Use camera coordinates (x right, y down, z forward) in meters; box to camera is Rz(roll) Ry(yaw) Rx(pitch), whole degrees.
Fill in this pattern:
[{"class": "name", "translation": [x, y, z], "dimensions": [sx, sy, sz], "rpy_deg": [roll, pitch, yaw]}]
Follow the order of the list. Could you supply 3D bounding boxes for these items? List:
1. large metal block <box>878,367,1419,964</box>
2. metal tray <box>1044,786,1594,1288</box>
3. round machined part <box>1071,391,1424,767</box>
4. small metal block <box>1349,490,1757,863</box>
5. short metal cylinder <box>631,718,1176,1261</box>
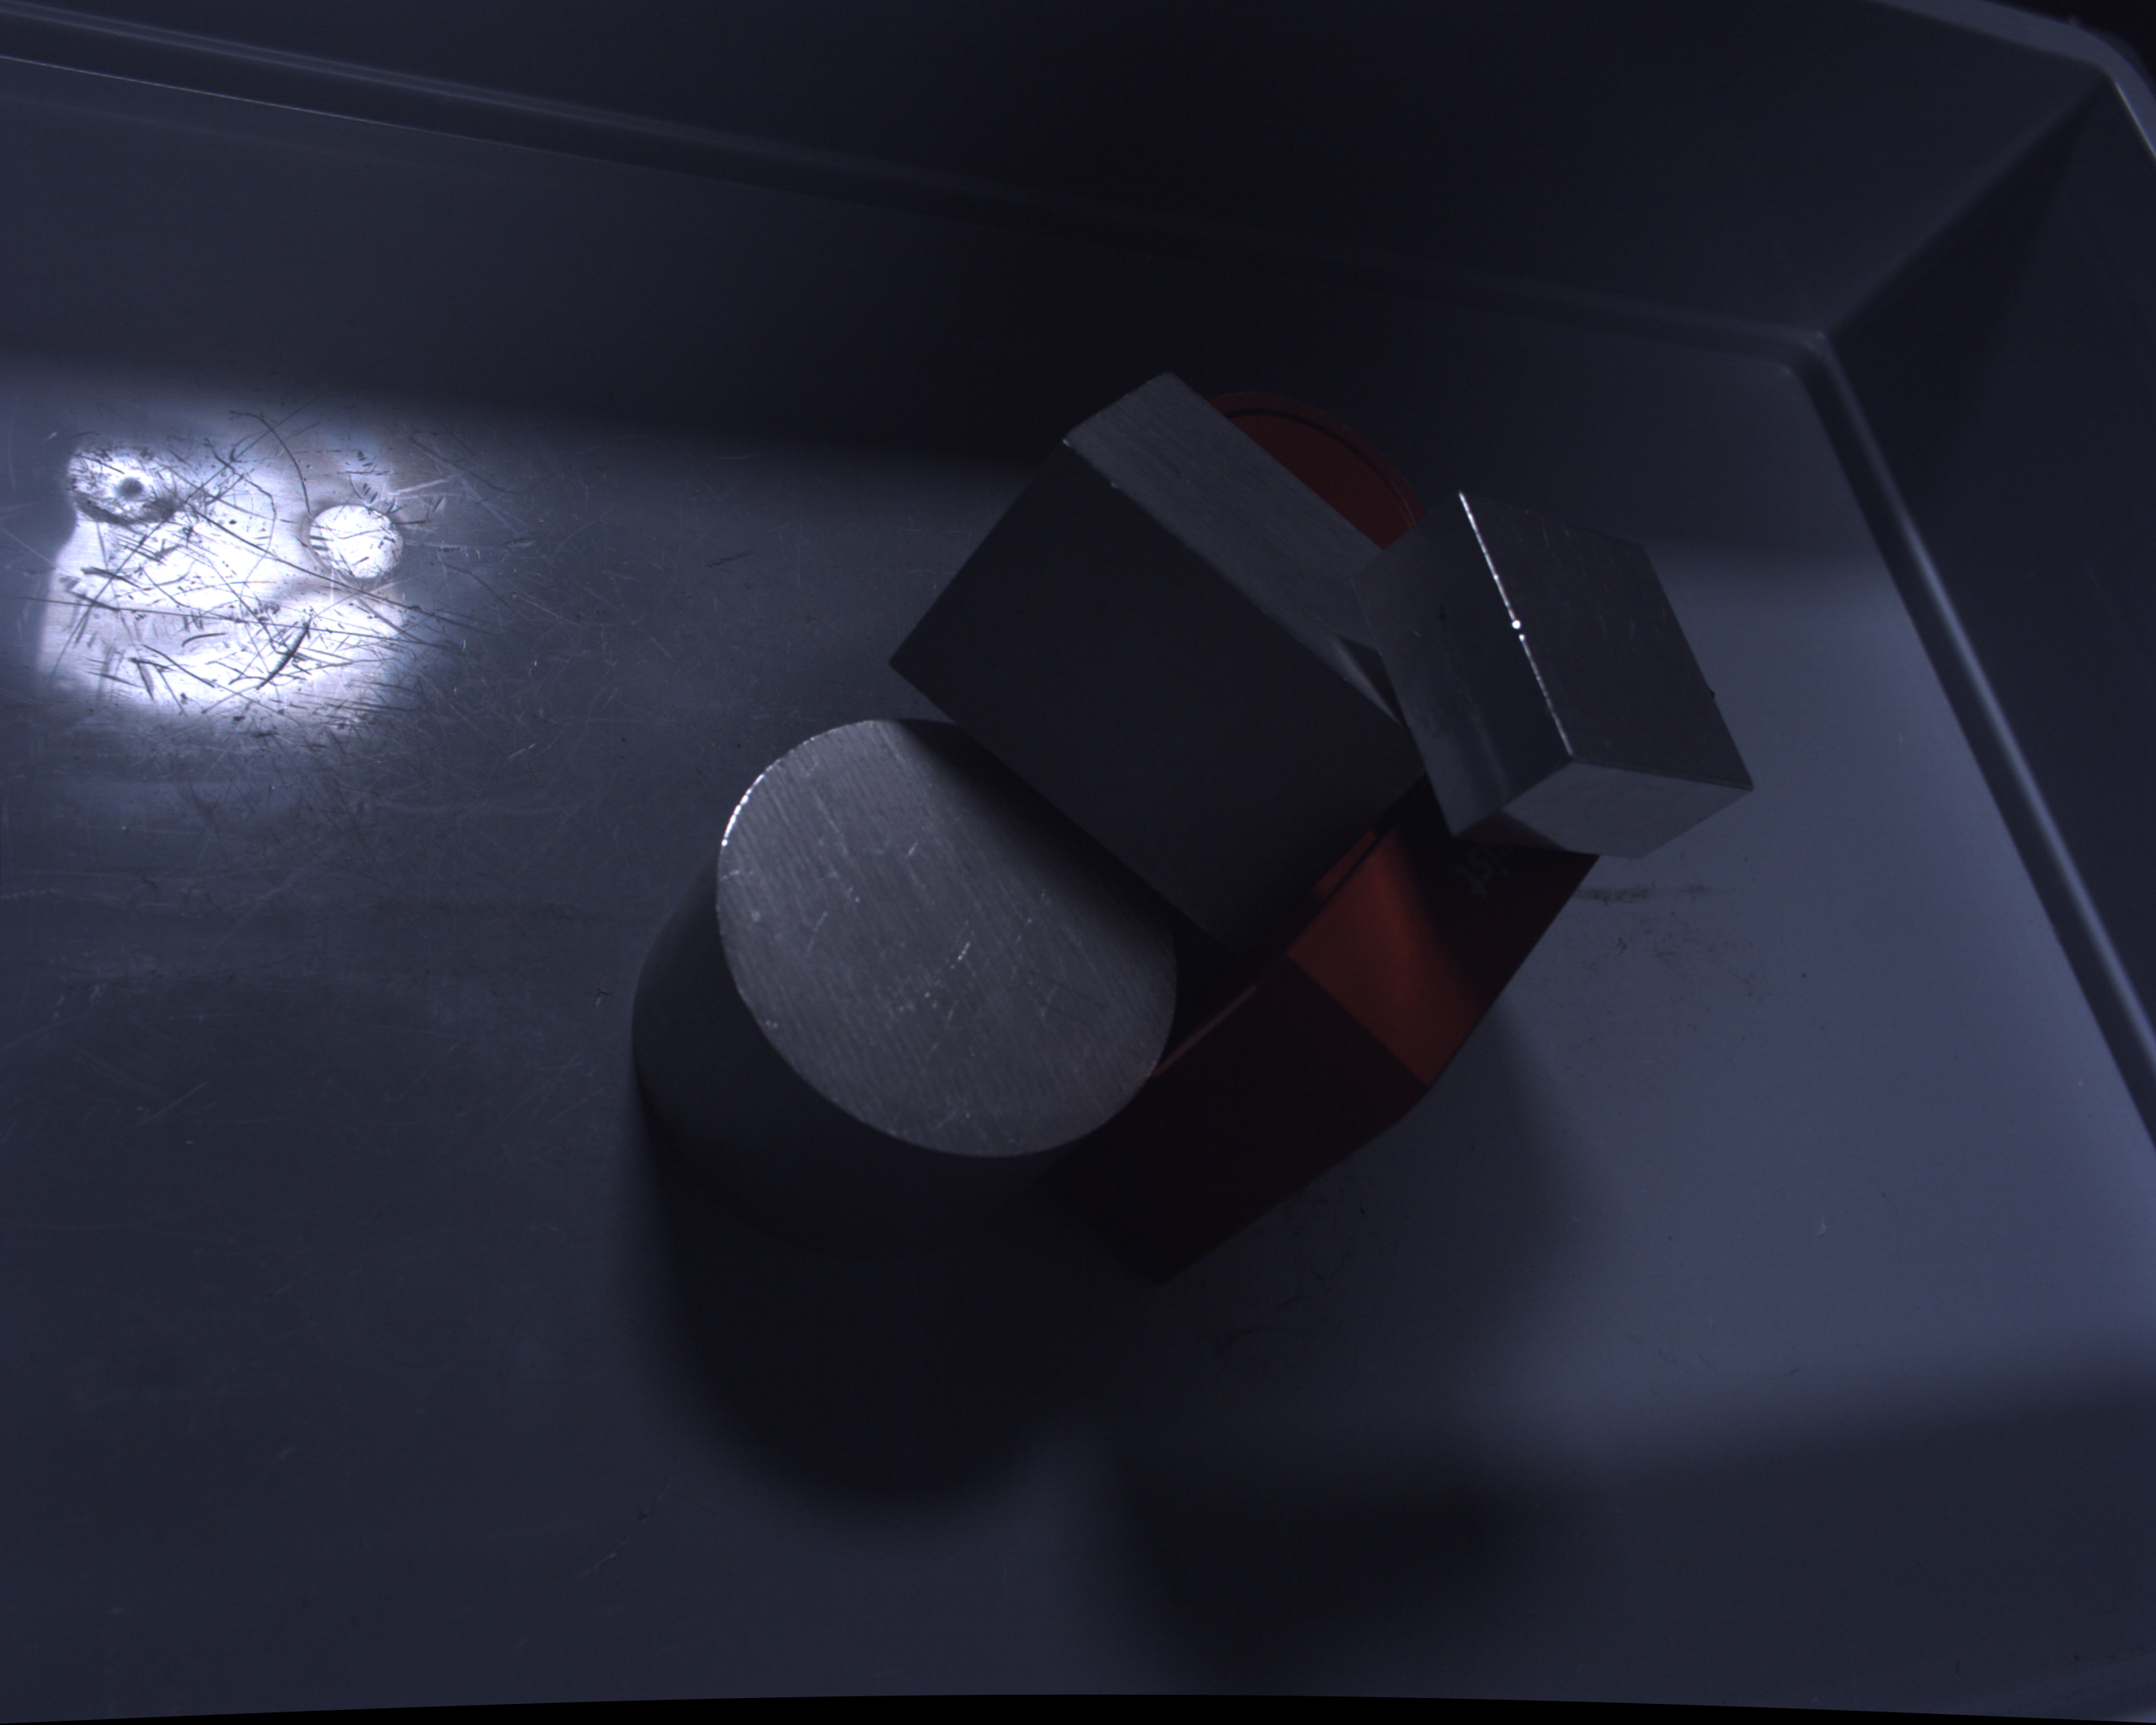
[{"class": "large metal block", "translation": [0.022, -0.039, 0.379], "dimensions": [0.080, 0.050, 0.080], "rpy_deg": [39, 26, -2]}, {"class": "metal tray", "translation": [0.057, 0.013, 0.386], "dimensions": [0.030, 0.090, 0.131], "rpy_deg": [44, 50, 2]}, {"class": "round machined part", "translation": [0.039, -0.063, 0.453], "dimensions": [0.099, 0.042, 0.098], "rpy_deg": [14, 56, -21]}, {"class": "small metal block", "translation": [0.078, -0.029, 0.343], "dimensions": [0.050, 0.025, 0.050], "rpy_deg": [5, 58, -41]}, {"class": "short metal cylinder", "translation": [-0.031, 0.022, 0.358], "dimensions": [0.081, 0.050, 0.080], "rpy_deg": [14, 56, -21]}]
